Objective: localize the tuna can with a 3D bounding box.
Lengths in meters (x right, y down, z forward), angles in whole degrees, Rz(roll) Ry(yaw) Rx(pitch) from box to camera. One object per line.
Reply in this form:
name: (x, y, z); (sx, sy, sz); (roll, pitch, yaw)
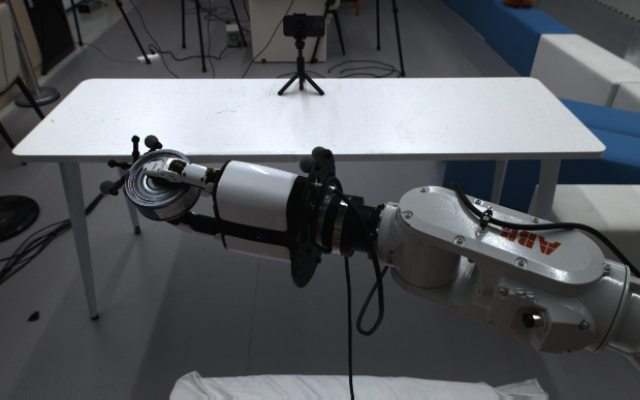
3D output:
tuna can: (-0.188, -0.014, 0.591); (0.085, 0.034, 0.085); (0, 63, 1)
